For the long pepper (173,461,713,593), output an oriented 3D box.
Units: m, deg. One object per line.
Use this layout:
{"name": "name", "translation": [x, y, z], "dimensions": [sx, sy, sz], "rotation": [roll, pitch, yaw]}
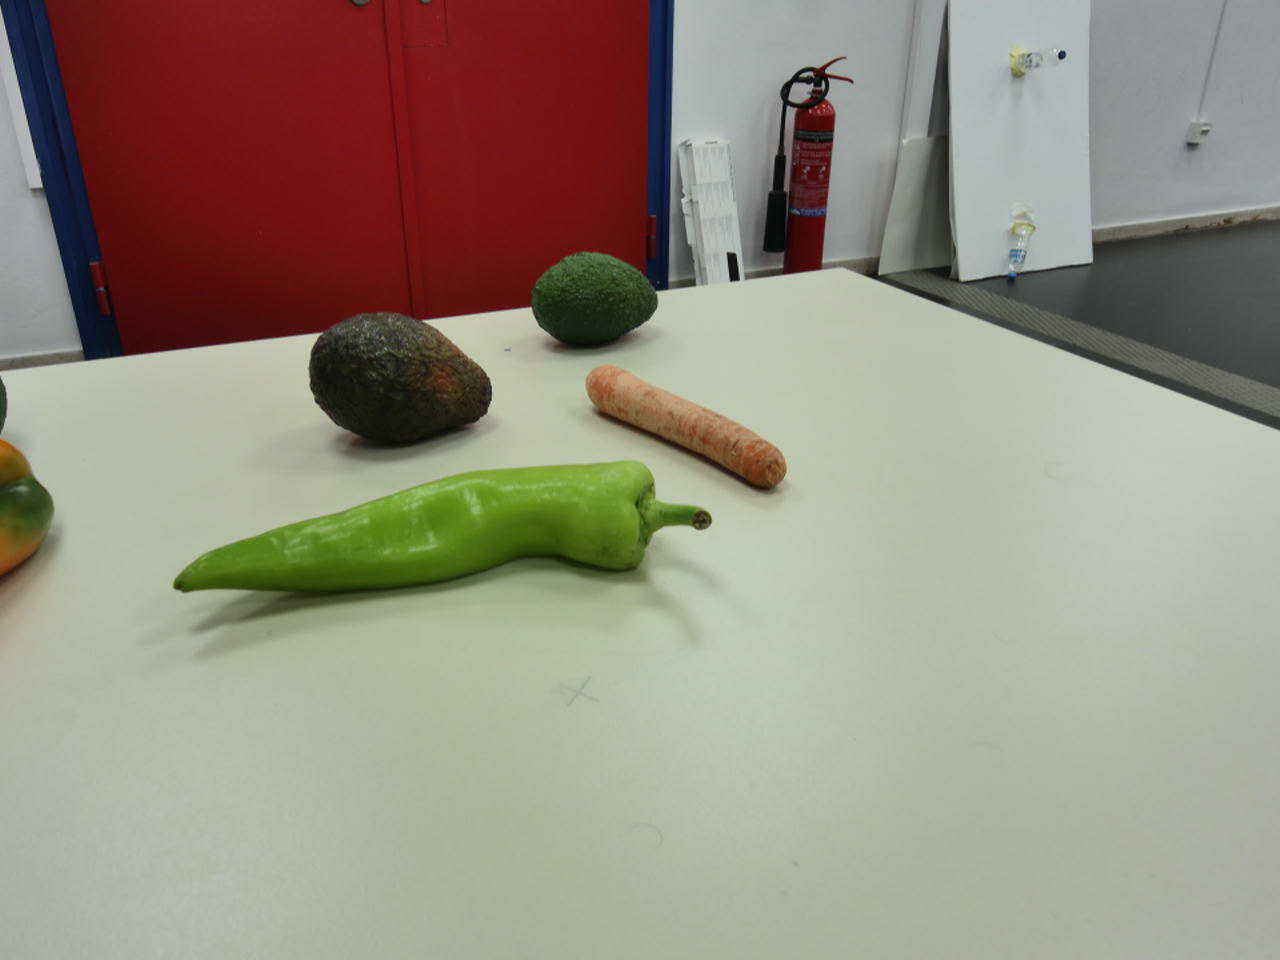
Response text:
{"name": "long pepper", "translation": [-0.076, 0.020, 0.411], "dimensions": [0.204, 0.045, 0.065], "rotation": [-4, 24, -9]}
